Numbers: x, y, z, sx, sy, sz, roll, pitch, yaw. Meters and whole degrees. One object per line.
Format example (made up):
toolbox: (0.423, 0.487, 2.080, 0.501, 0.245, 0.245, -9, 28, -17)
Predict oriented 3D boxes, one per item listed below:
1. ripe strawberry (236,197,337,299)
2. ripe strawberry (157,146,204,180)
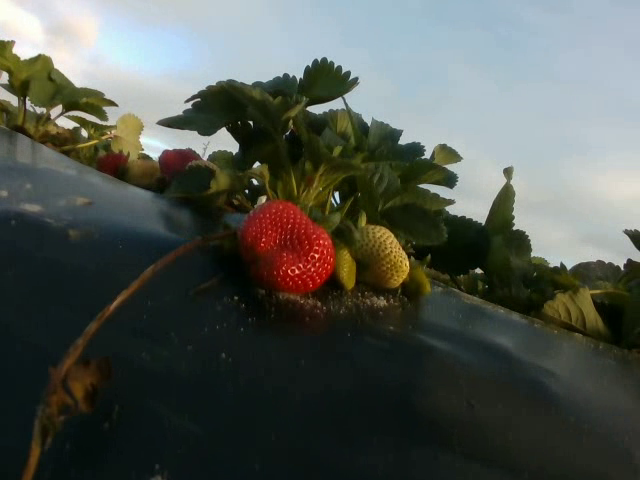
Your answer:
ripe strawberry: (-0.016, -0.002, 0.277, 0.048, 0.035, 0.050, 19, 25, 19)
ripe strawberry: (-0.120, -0.057, 0.552, 0.058, 0.070, 0.057, -11, -31, -32)
